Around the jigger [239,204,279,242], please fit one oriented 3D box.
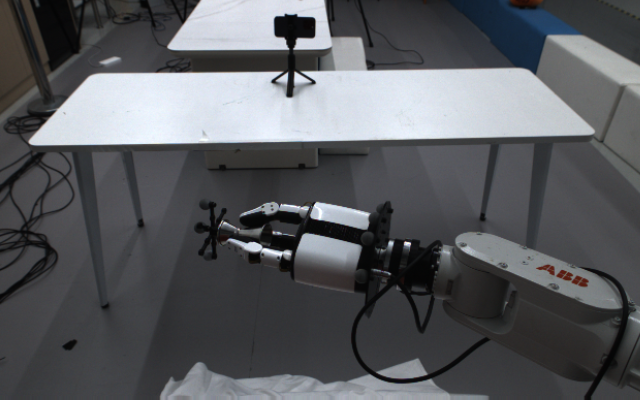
[{"bbox_3d":[-0.101,0.049,0.696,0.071,0.043,0.043,6,34,16],"label":"jigger"}]
